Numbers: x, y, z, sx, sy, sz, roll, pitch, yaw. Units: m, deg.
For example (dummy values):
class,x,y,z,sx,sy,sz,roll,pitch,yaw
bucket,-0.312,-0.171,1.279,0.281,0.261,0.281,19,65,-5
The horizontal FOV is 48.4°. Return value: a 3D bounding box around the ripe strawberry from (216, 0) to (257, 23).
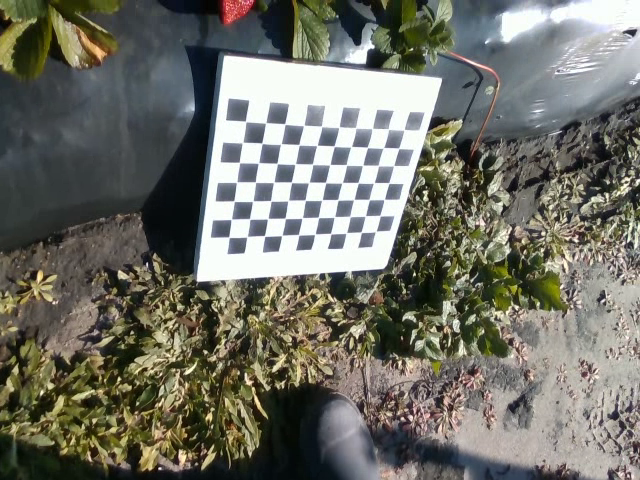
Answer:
class,x,y,z,sx,sy,sz,roll,pitch,yaw
ripe strawberry,-0.087,-0.231,0.702,0.058,0.062,0.066,-22,-43,19
